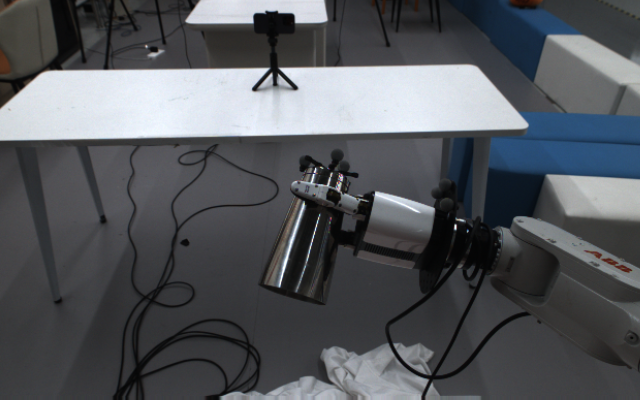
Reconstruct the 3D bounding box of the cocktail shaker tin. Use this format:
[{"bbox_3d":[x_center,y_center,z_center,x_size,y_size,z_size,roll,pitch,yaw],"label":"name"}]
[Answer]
[{"bbox_3d":[-0.012,0.043,0.651,0.093,0.093,0.170,12,72,14],"label":"cocktail shaker tin"}]
